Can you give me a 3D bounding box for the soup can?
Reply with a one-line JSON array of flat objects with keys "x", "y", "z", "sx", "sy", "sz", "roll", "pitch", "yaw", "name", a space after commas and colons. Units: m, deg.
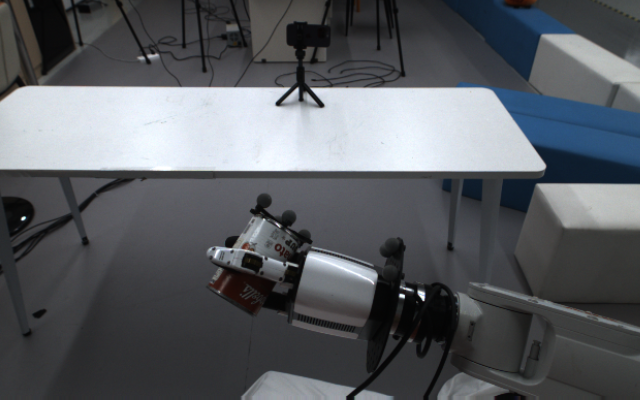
[{"x": -0.077, "y": 0.076, "z": 0.567, "sx": 0.067, "sy": 0.067, "sz": 0.101, "roll": 25, "pitch": 72, "yaw": 29, "name": "soup can"}]
